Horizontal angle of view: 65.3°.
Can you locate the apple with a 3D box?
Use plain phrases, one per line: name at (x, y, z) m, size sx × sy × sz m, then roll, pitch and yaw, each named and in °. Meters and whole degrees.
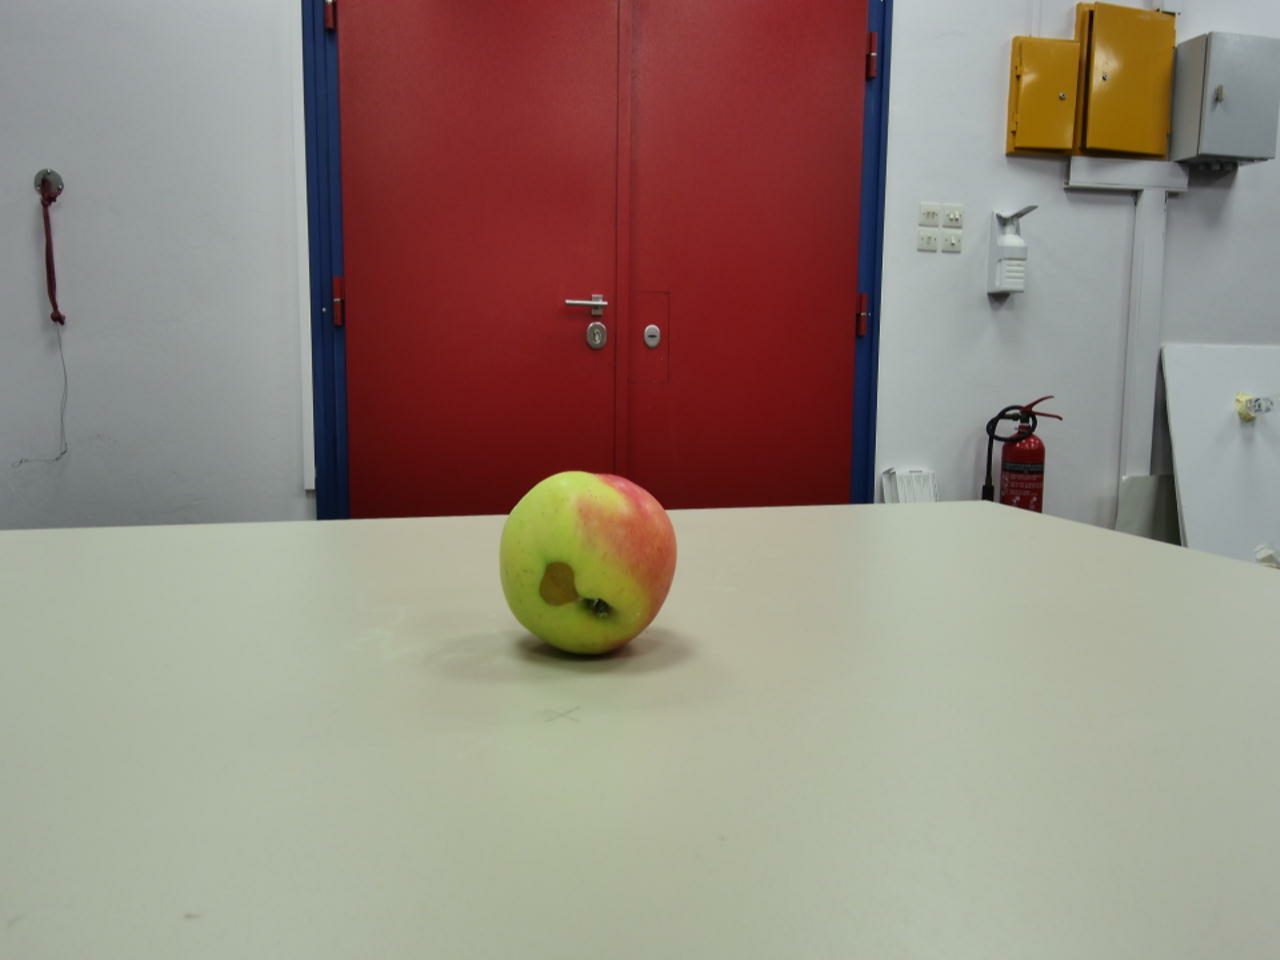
apple at (-0.021, 0.034, 0.421) m, size 0.075 × 0.074 × 0.075 m, roll -3°, pitch 5°, yaw -33°
